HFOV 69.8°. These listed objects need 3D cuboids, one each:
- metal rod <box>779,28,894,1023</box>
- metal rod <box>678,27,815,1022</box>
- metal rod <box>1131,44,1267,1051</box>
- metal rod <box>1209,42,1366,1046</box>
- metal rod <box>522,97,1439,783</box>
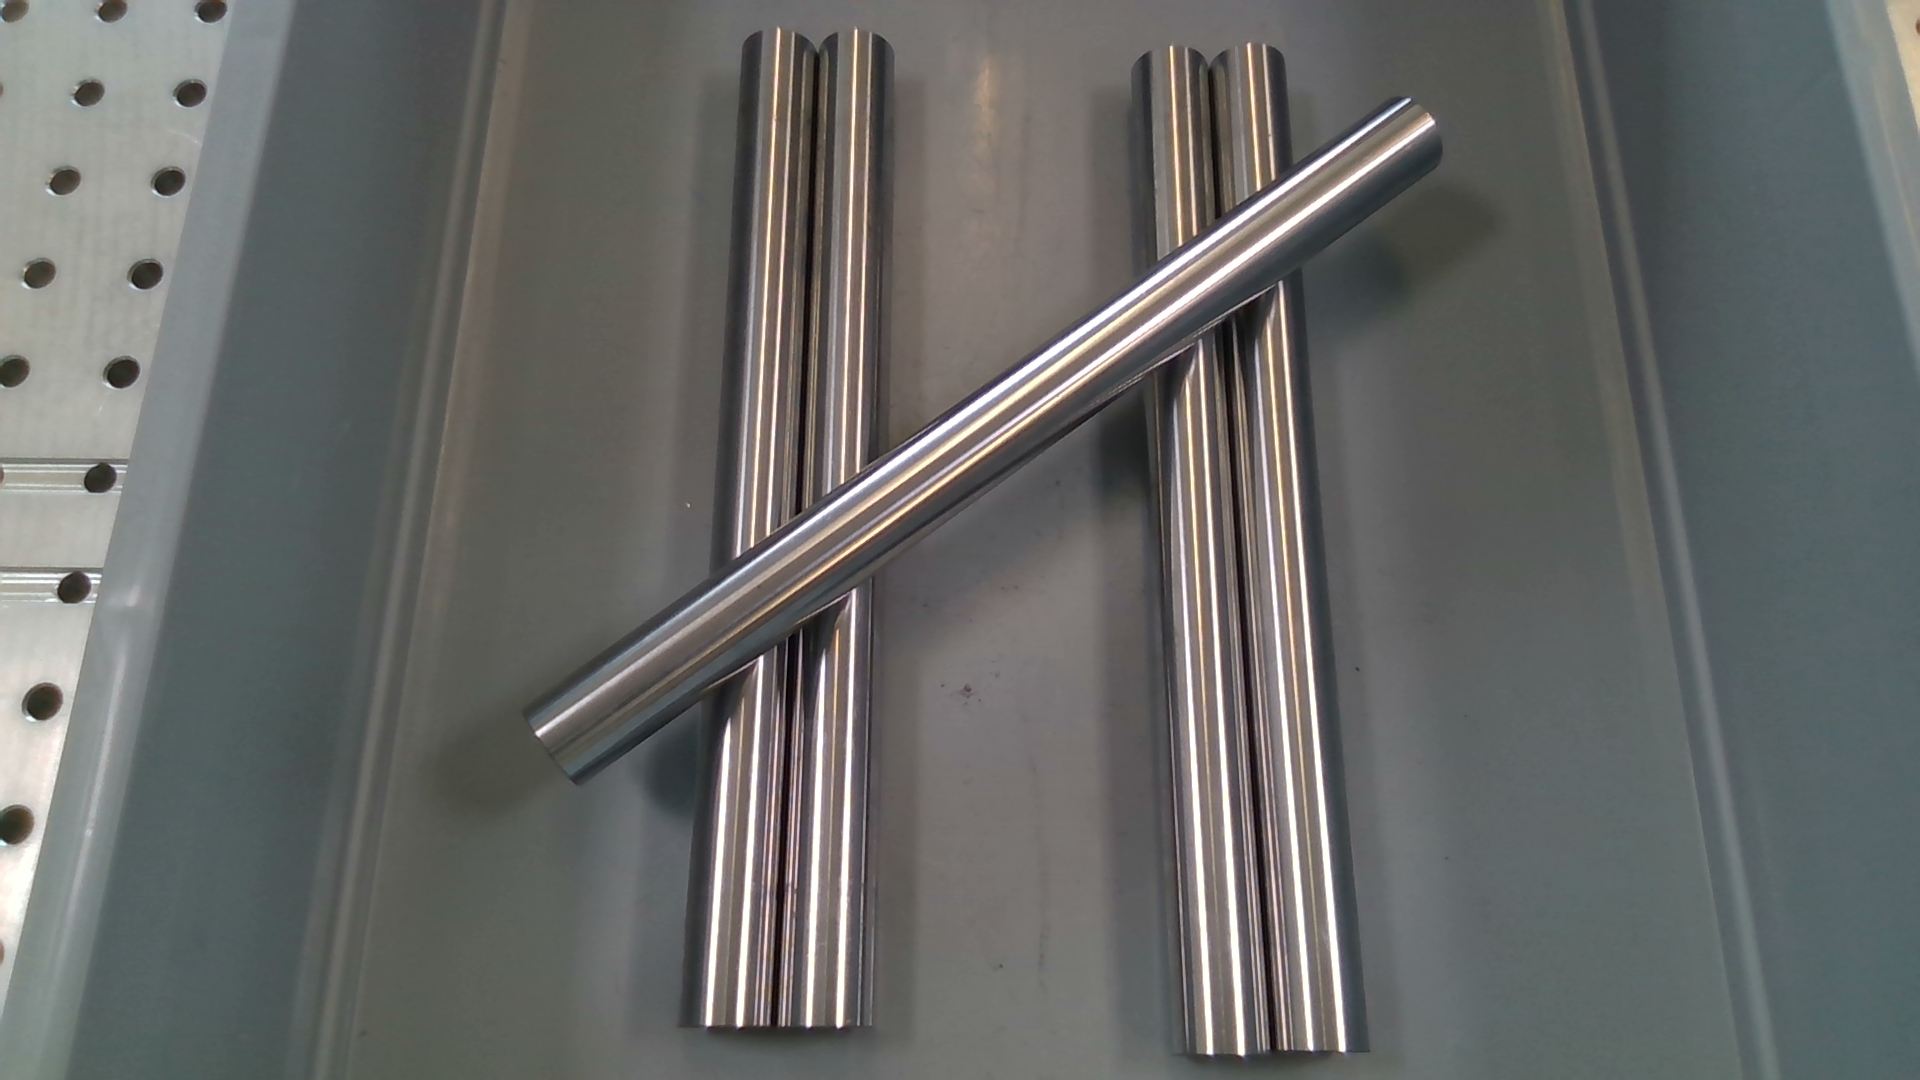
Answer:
[{"bbox_3d":[-0.034,-0.018,0.400,0.025,0.025,0.299,0,70,0],"label":"metal rod"},{"bbox_3d":[-0.059,-0.018,0.401,0.025,0.025,0.299,0,70,0],"label":"metal rod"},{"bbox_3d":[0.066,-0.012,0.398,0.025,0.025,0.299,0,70,0],"label":"metal rod"},{"bbox_3d":[0.091,-0.013,0.399,0.025,0.025,0.299,0,70,0],"label":"metal rod"},{"bbox_3d":[0.015,-0.034,0.381,0.300,0.025,0.025,-36,74,-12],"label":"metal rod"}]
